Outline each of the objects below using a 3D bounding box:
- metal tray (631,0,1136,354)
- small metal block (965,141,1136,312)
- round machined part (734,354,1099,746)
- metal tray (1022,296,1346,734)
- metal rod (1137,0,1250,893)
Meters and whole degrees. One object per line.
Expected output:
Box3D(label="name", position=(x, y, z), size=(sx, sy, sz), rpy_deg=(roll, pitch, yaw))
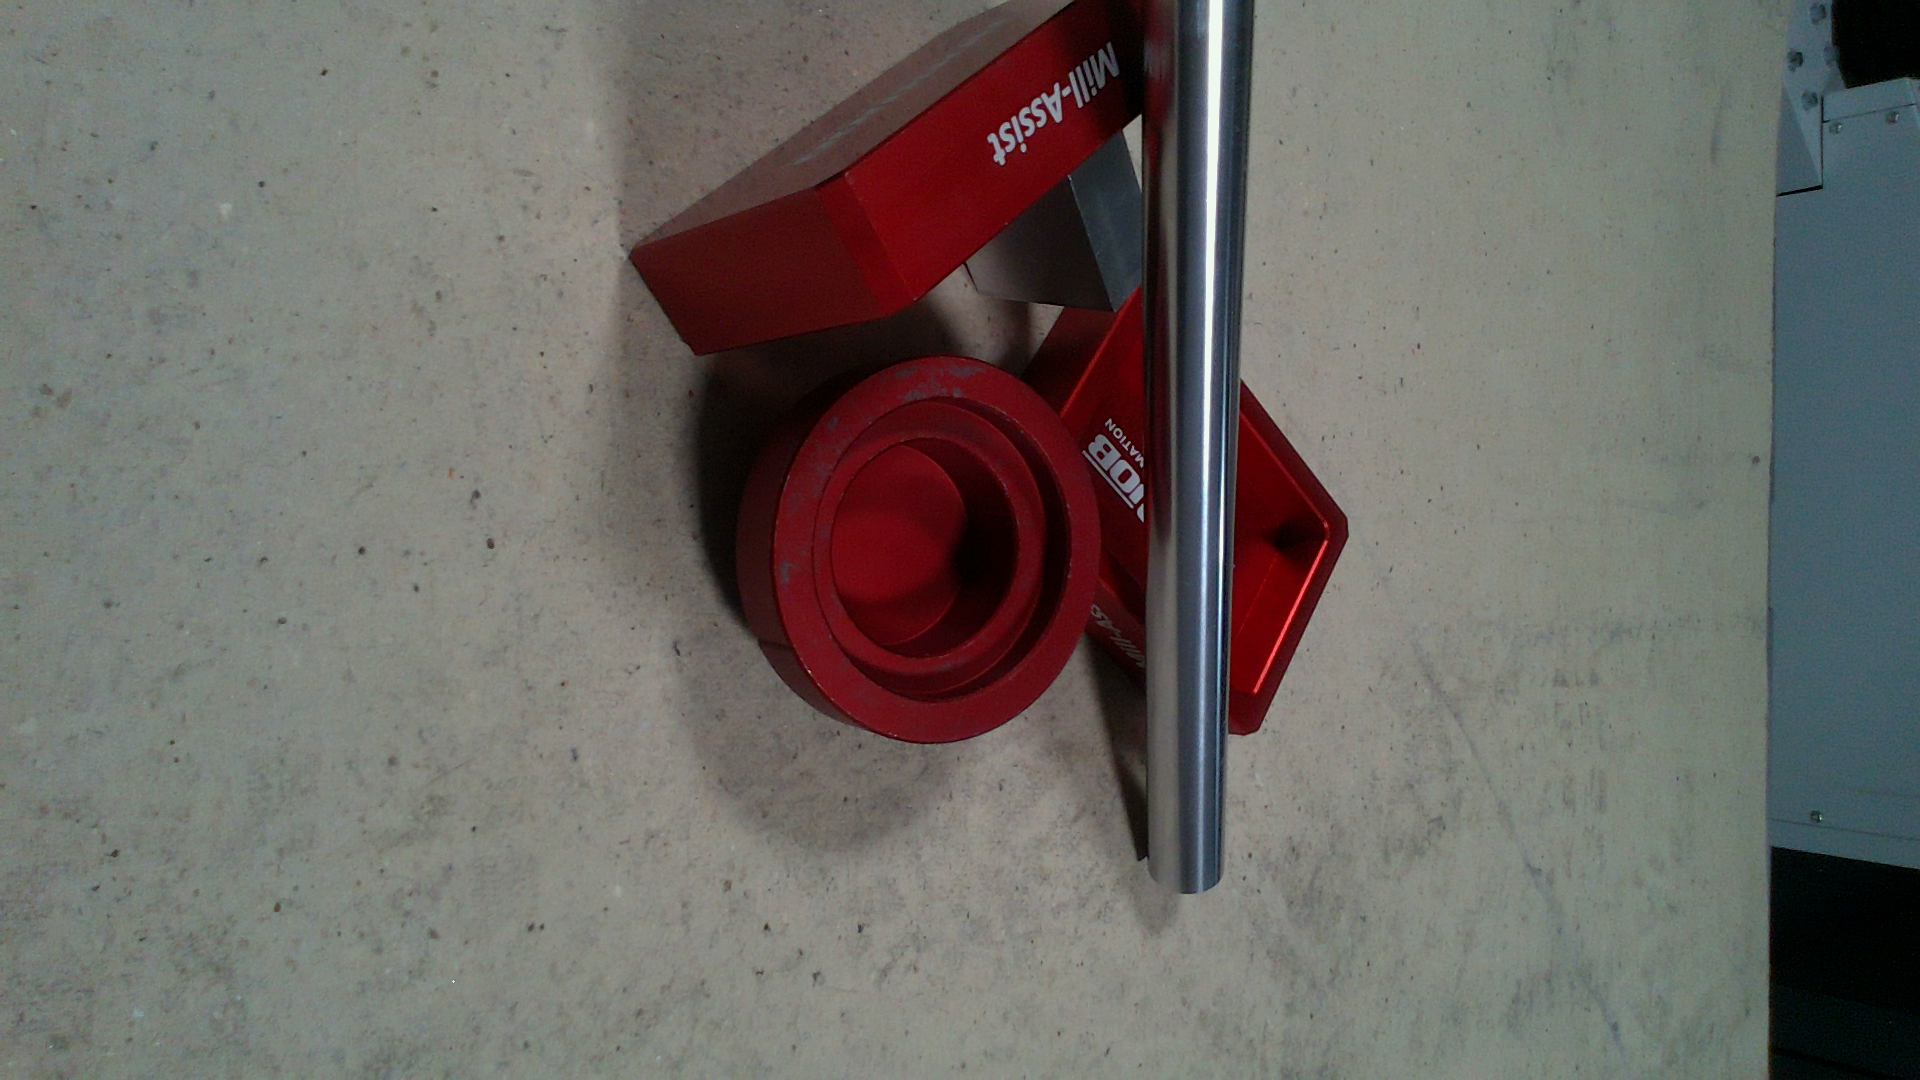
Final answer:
Box3D(label="metal tray", position=(-0.008, -0.097, 0.340), size=(0.130, 0.090, 0.030), rpy_deg=(-45, 117, -30))
Box3D(label="small metal block", position=(0.022, -0.094, 0.385), size=(0.025, 0.050, 0.050), rpy_deg=(-49, 133, -26))
Box3D(label="round machined part", position=(-0.014, 0.002, 0.361), size=(0.098, 0.042, 0.098), rpy_deg=(-3, 95, -34))
Box3D(label="metal tray", position=(0.067, -0.010, 0.441), size=(0.130, 0.030, 0.090), rpy_deg=(45, 63, -30))
Box3D(label="metal rod", position=(0.061, -0.019, 0.371), size=(0.025, 0.025, 0.300), rpy_deg=(-32, 132, -35))
